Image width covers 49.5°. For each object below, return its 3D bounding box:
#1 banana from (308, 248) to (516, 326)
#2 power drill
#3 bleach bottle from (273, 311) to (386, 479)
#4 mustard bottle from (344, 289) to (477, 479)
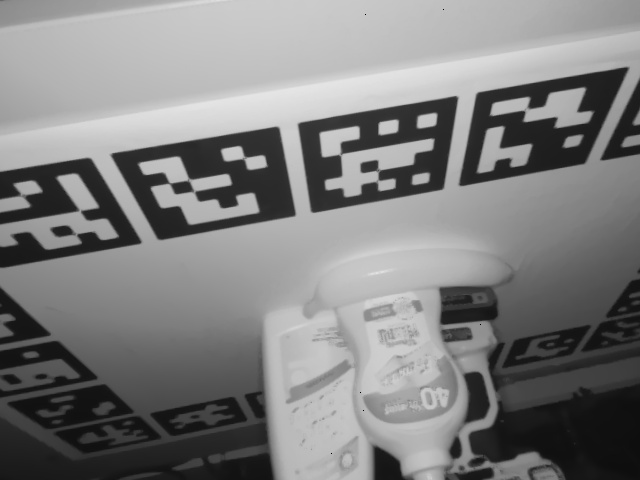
[{"bbox_3d":[0.086,0.037,0.623,0.198,0.039,0.073,-9,142,-8],"label":"banana"},{"bbox_3d":[0.130,0.177,0.640,0.186,0.188,0.056,-1,143,-11],"label":"power drill"},{"bbox_3d":[0.020,0.191,0.621,0.103,0.252,0.067,-8,148,-5],"label":"bleach bottle"},{"bbox_3d":[0.081,0.126,0.593,0.096,0.192,0.058,-9,143,-2],"label":"mustard bottle"}]
